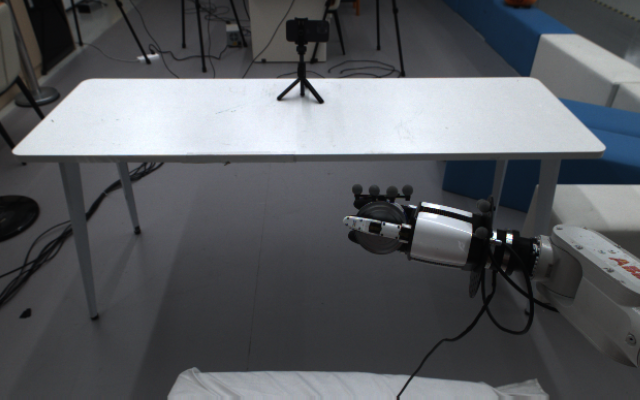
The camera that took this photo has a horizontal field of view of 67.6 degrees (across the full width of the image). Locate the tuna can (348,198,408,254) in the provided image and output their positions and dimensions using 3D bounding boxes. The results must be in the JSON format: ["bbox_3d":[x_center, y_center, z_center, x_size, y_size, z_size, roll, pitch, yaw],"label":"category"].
[{"bbox_3d":[0.099,0.042,0.770,0.085,0.085,0.034,12,8,14],"label":"tuna can"}]
